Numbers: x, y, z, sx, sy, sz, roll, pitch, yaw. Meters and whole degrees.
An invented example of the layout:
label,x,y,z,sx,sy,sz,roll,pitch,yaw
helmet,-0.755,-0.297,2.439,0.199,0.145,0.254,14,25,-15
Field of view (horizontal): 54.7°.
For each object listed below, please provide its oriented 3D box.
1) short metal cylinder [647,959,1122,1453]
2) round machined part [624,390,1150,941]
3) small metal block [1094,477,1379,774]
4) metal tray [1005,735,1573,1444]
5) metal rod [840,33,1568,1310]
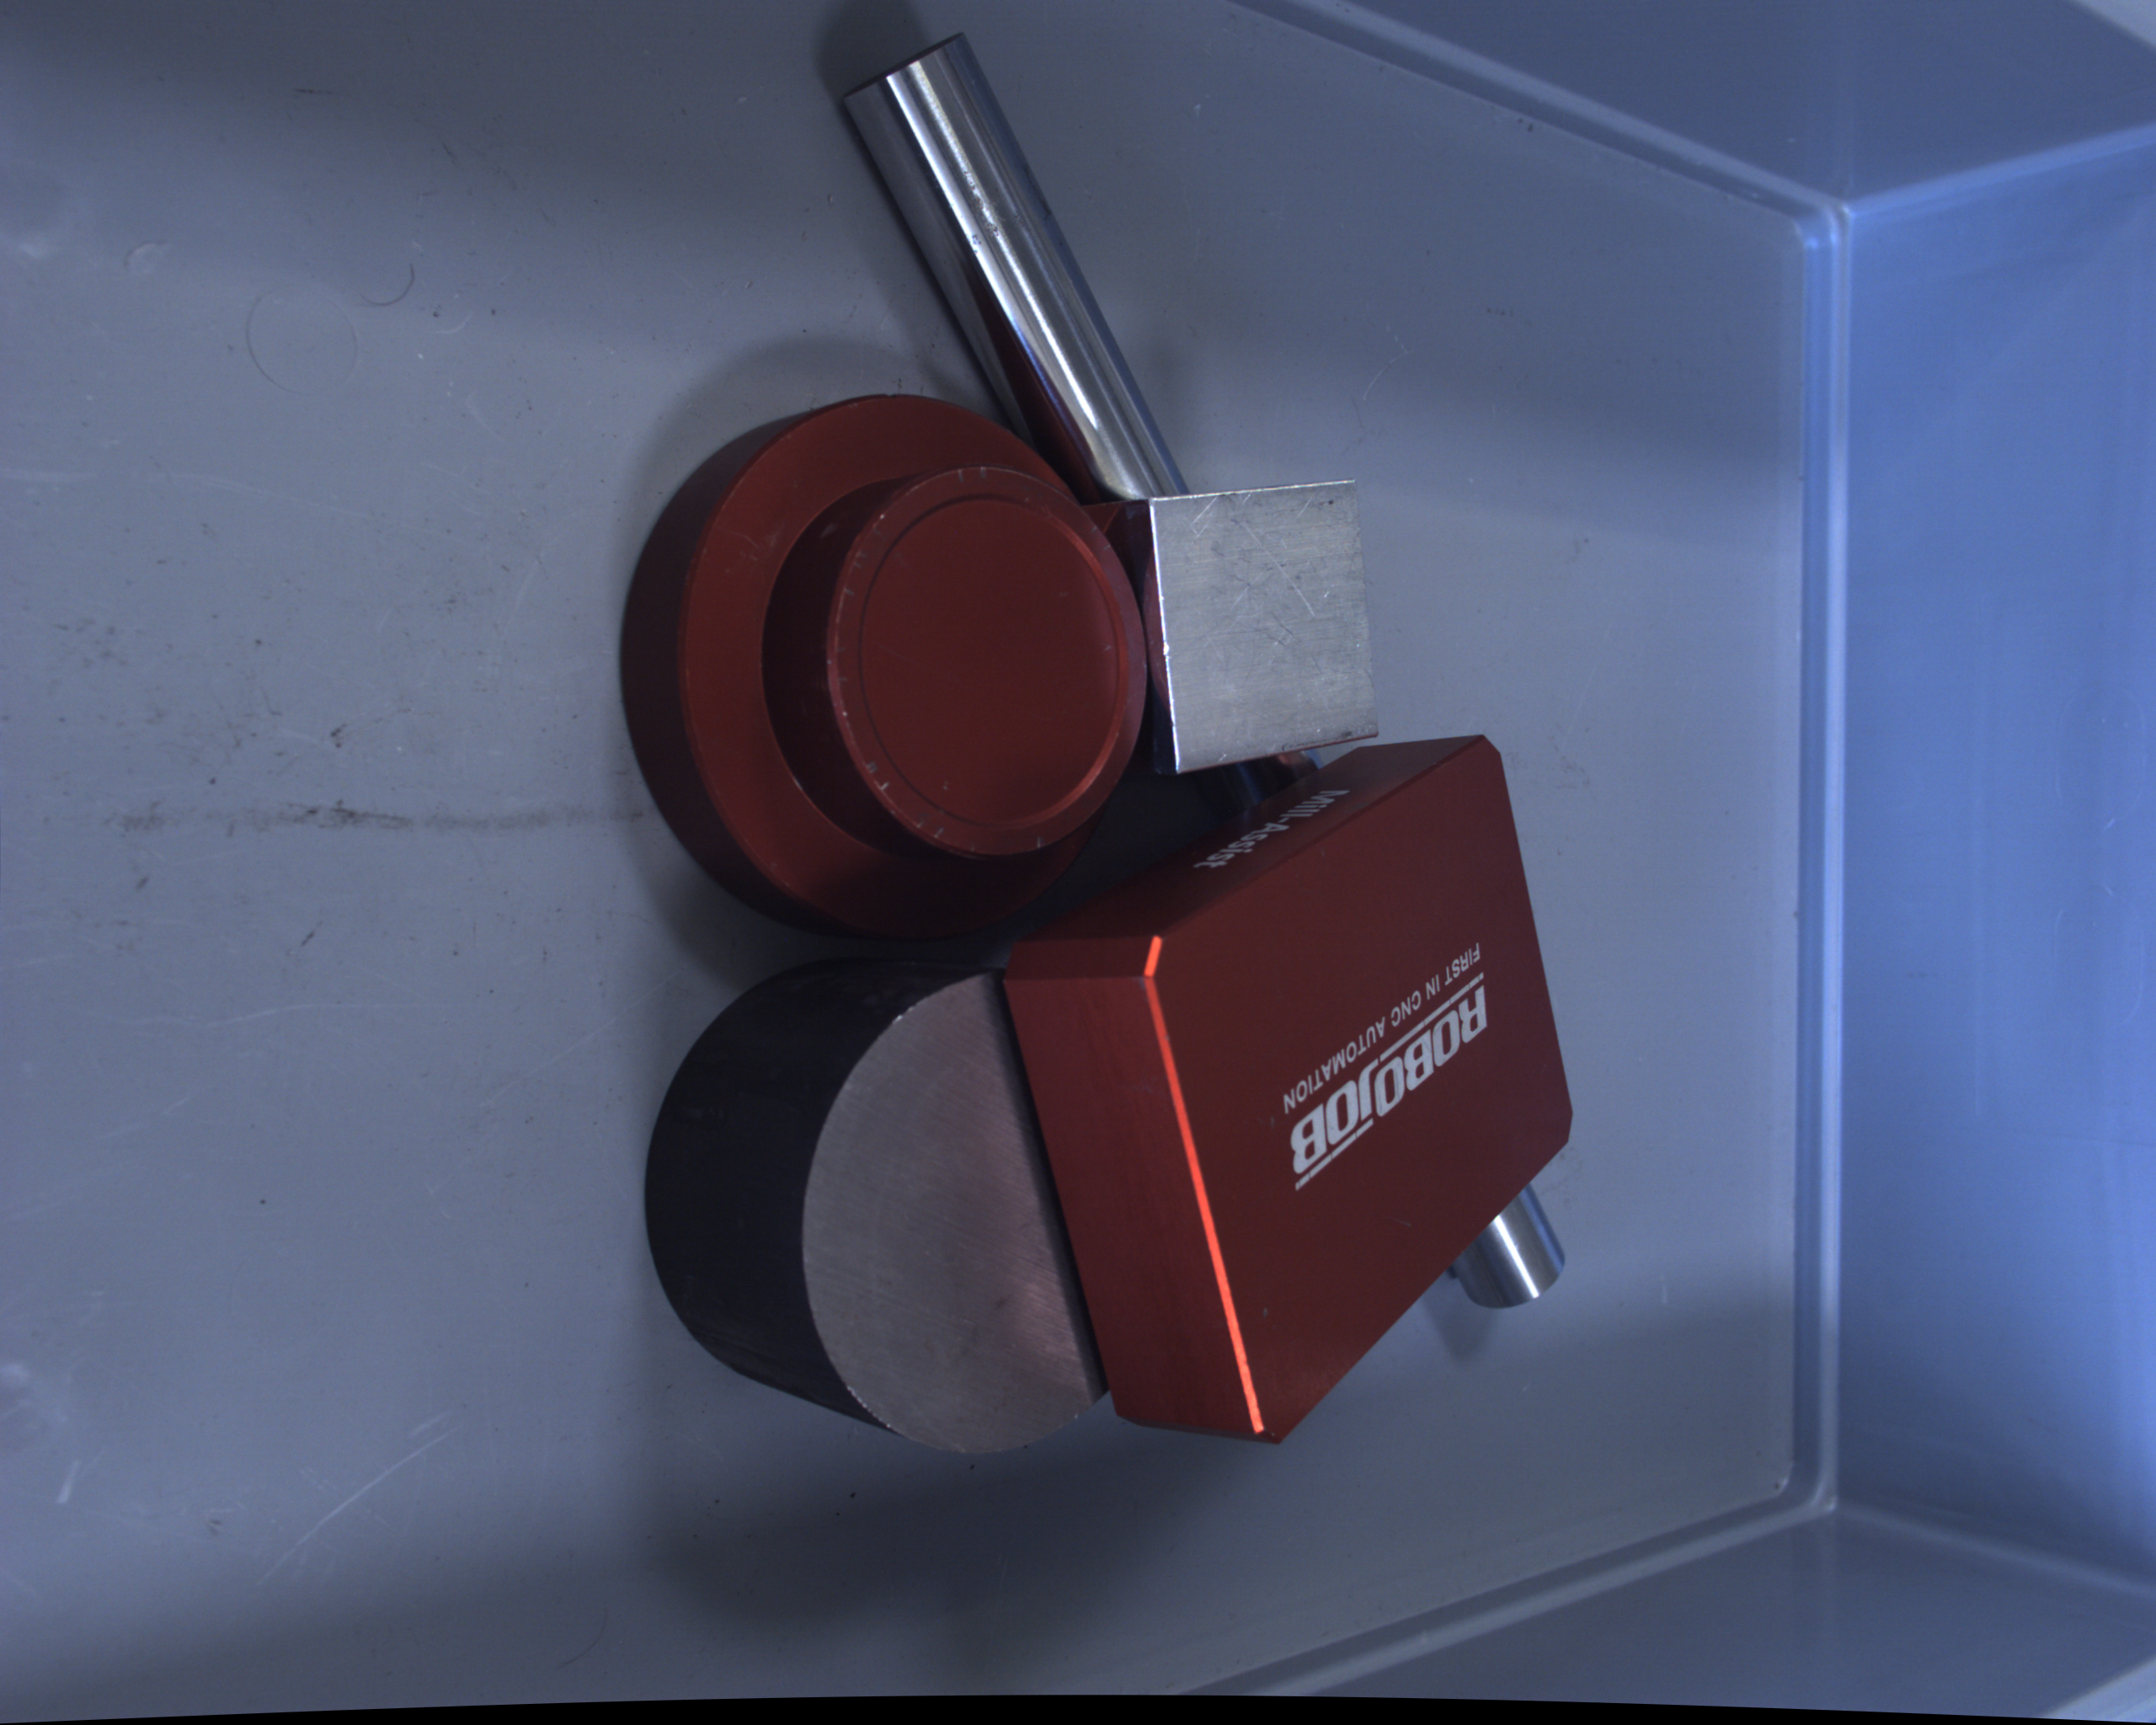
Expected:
label,x,y,z,sx,sy,sz,roll,pitch,yaw
short metal cylinder,-0.027,0.058,0.365,0.081,0.050,0.079,0,90,-40
round machined part,-0.026,-0.035,0.370,0.099,0.042,0.097,0,90,-39
small metal block,0.028,-0.046,0.398,0.050,0.025,0.050,-12,101,-34
metal tray,0.046,0.036,0.390,0.131,0.030,0.089,-28,109,-50
metal rod,0.036,-0.024,0.435,0.025,0.025,0.299,-44,117,-31
